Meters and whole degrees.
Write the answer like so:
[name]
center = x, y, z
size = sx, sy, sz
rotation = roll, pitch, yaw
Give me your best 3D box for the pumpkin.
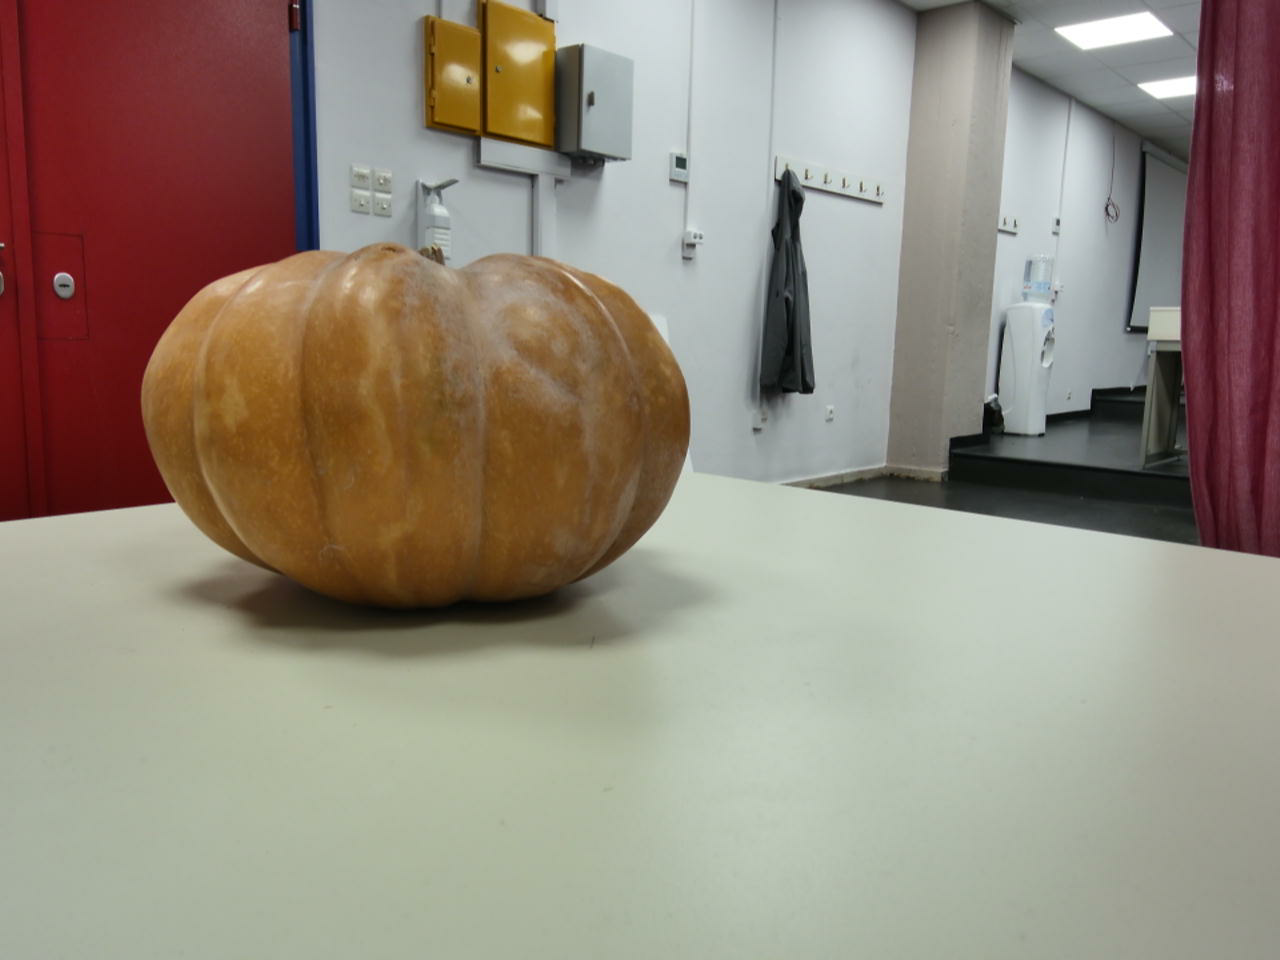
[pumpkin]
center = -0.111, -0.030, 0.529
size = 0.277, 0.181, 0.277
rotation = 0, 7, 0
